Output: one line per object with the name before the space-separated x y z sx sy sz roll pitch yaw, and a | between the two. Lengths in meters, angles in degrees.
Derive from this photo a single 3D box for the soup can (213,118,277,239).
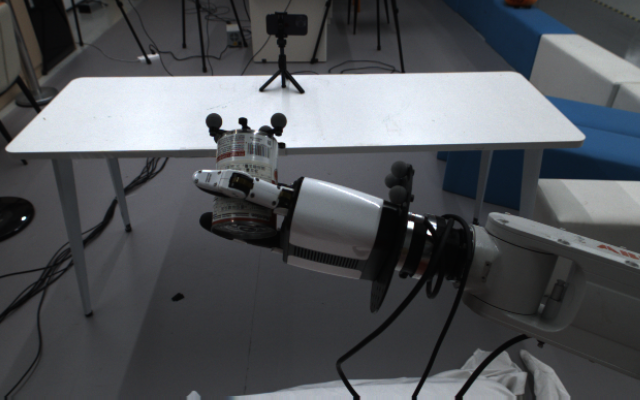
soup can | -0.077 -0.014 0.510 0.067 0.067 0.101 1 72 -2
